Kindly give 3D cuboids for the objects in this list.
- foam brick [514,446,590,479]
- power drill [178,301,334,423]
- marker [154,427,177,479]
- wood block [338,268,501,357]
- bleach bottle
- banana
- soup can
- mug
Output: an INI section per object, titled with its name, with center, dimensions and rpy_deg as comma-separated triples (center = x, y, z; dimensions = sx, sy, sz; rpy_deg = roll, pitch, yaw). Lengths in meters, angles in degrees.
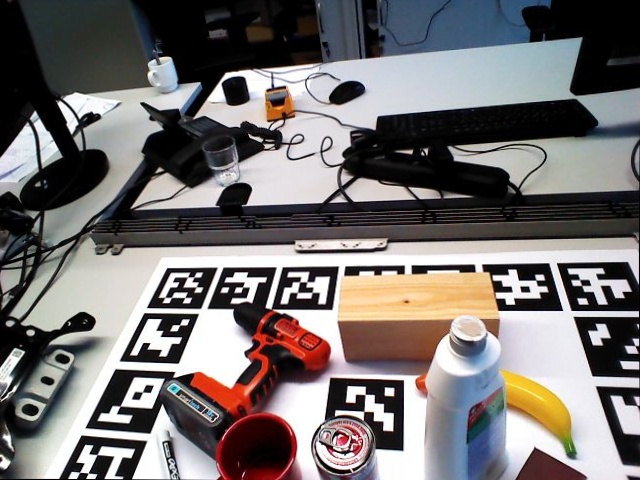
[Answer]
[foam brick]
center = 0.227, 0.250, 0.515
dimensions = 0.053, 0.078, 0.051
rpy_deg = 23, 47, 39
[power drill]
center = -0.101, 0.175, 0.721
dimensions = 0.185, 0.057, 0.185
rpy_deg = 22, 48, 31
[marker]
center = -0.186, 0.283, 0.634
dimensions = 0.019, 0.020, 0.121
rpy_deg = -23, 40, -10
[wood block]
center = 0.137, 0.099, 0.718
dimensions = 0.207, 0.091, 0.089
rpy_deg = -3, 40, 12
[bleach bottle]
center = 0.142, 0.156, 0.513
dimensions = 0.068, 0.251, 0.102
rpy_deg = 20, 47, 35
[banana]
center = 0.207, 0.169, 0.647
dimensions = 0.198, 0.039, 0.074
rpy_deg = 10, 57, 23
[soup can]
center = 0.026, 0.233, 0.559
dimensions = 0.068, 0.102, 0.067
rpy_deg = -6, 35, 4
[mug]
center = -0.078, 0.251, 0.589
dimensions = 0.116, 0.081, 0.093
rpy_deg = -34, 45, -22
